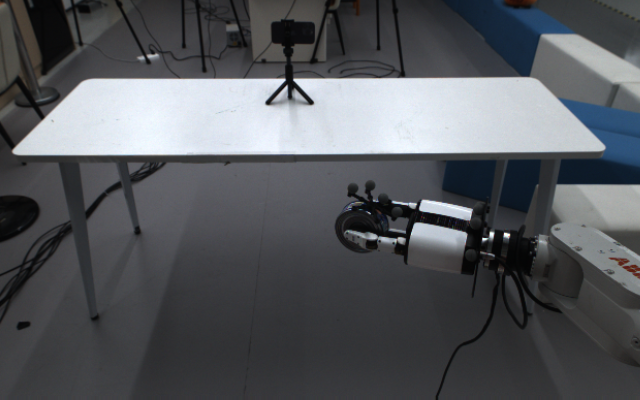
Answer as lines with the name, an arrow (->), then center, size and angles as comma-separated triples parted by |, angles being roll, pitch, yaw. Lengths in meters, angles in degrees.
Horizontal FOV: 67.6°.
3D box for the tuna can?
tuna can -> 0.072, 0.052, 0.800 | 0.085, 0.085, 0.034 | 15, 31, 18
